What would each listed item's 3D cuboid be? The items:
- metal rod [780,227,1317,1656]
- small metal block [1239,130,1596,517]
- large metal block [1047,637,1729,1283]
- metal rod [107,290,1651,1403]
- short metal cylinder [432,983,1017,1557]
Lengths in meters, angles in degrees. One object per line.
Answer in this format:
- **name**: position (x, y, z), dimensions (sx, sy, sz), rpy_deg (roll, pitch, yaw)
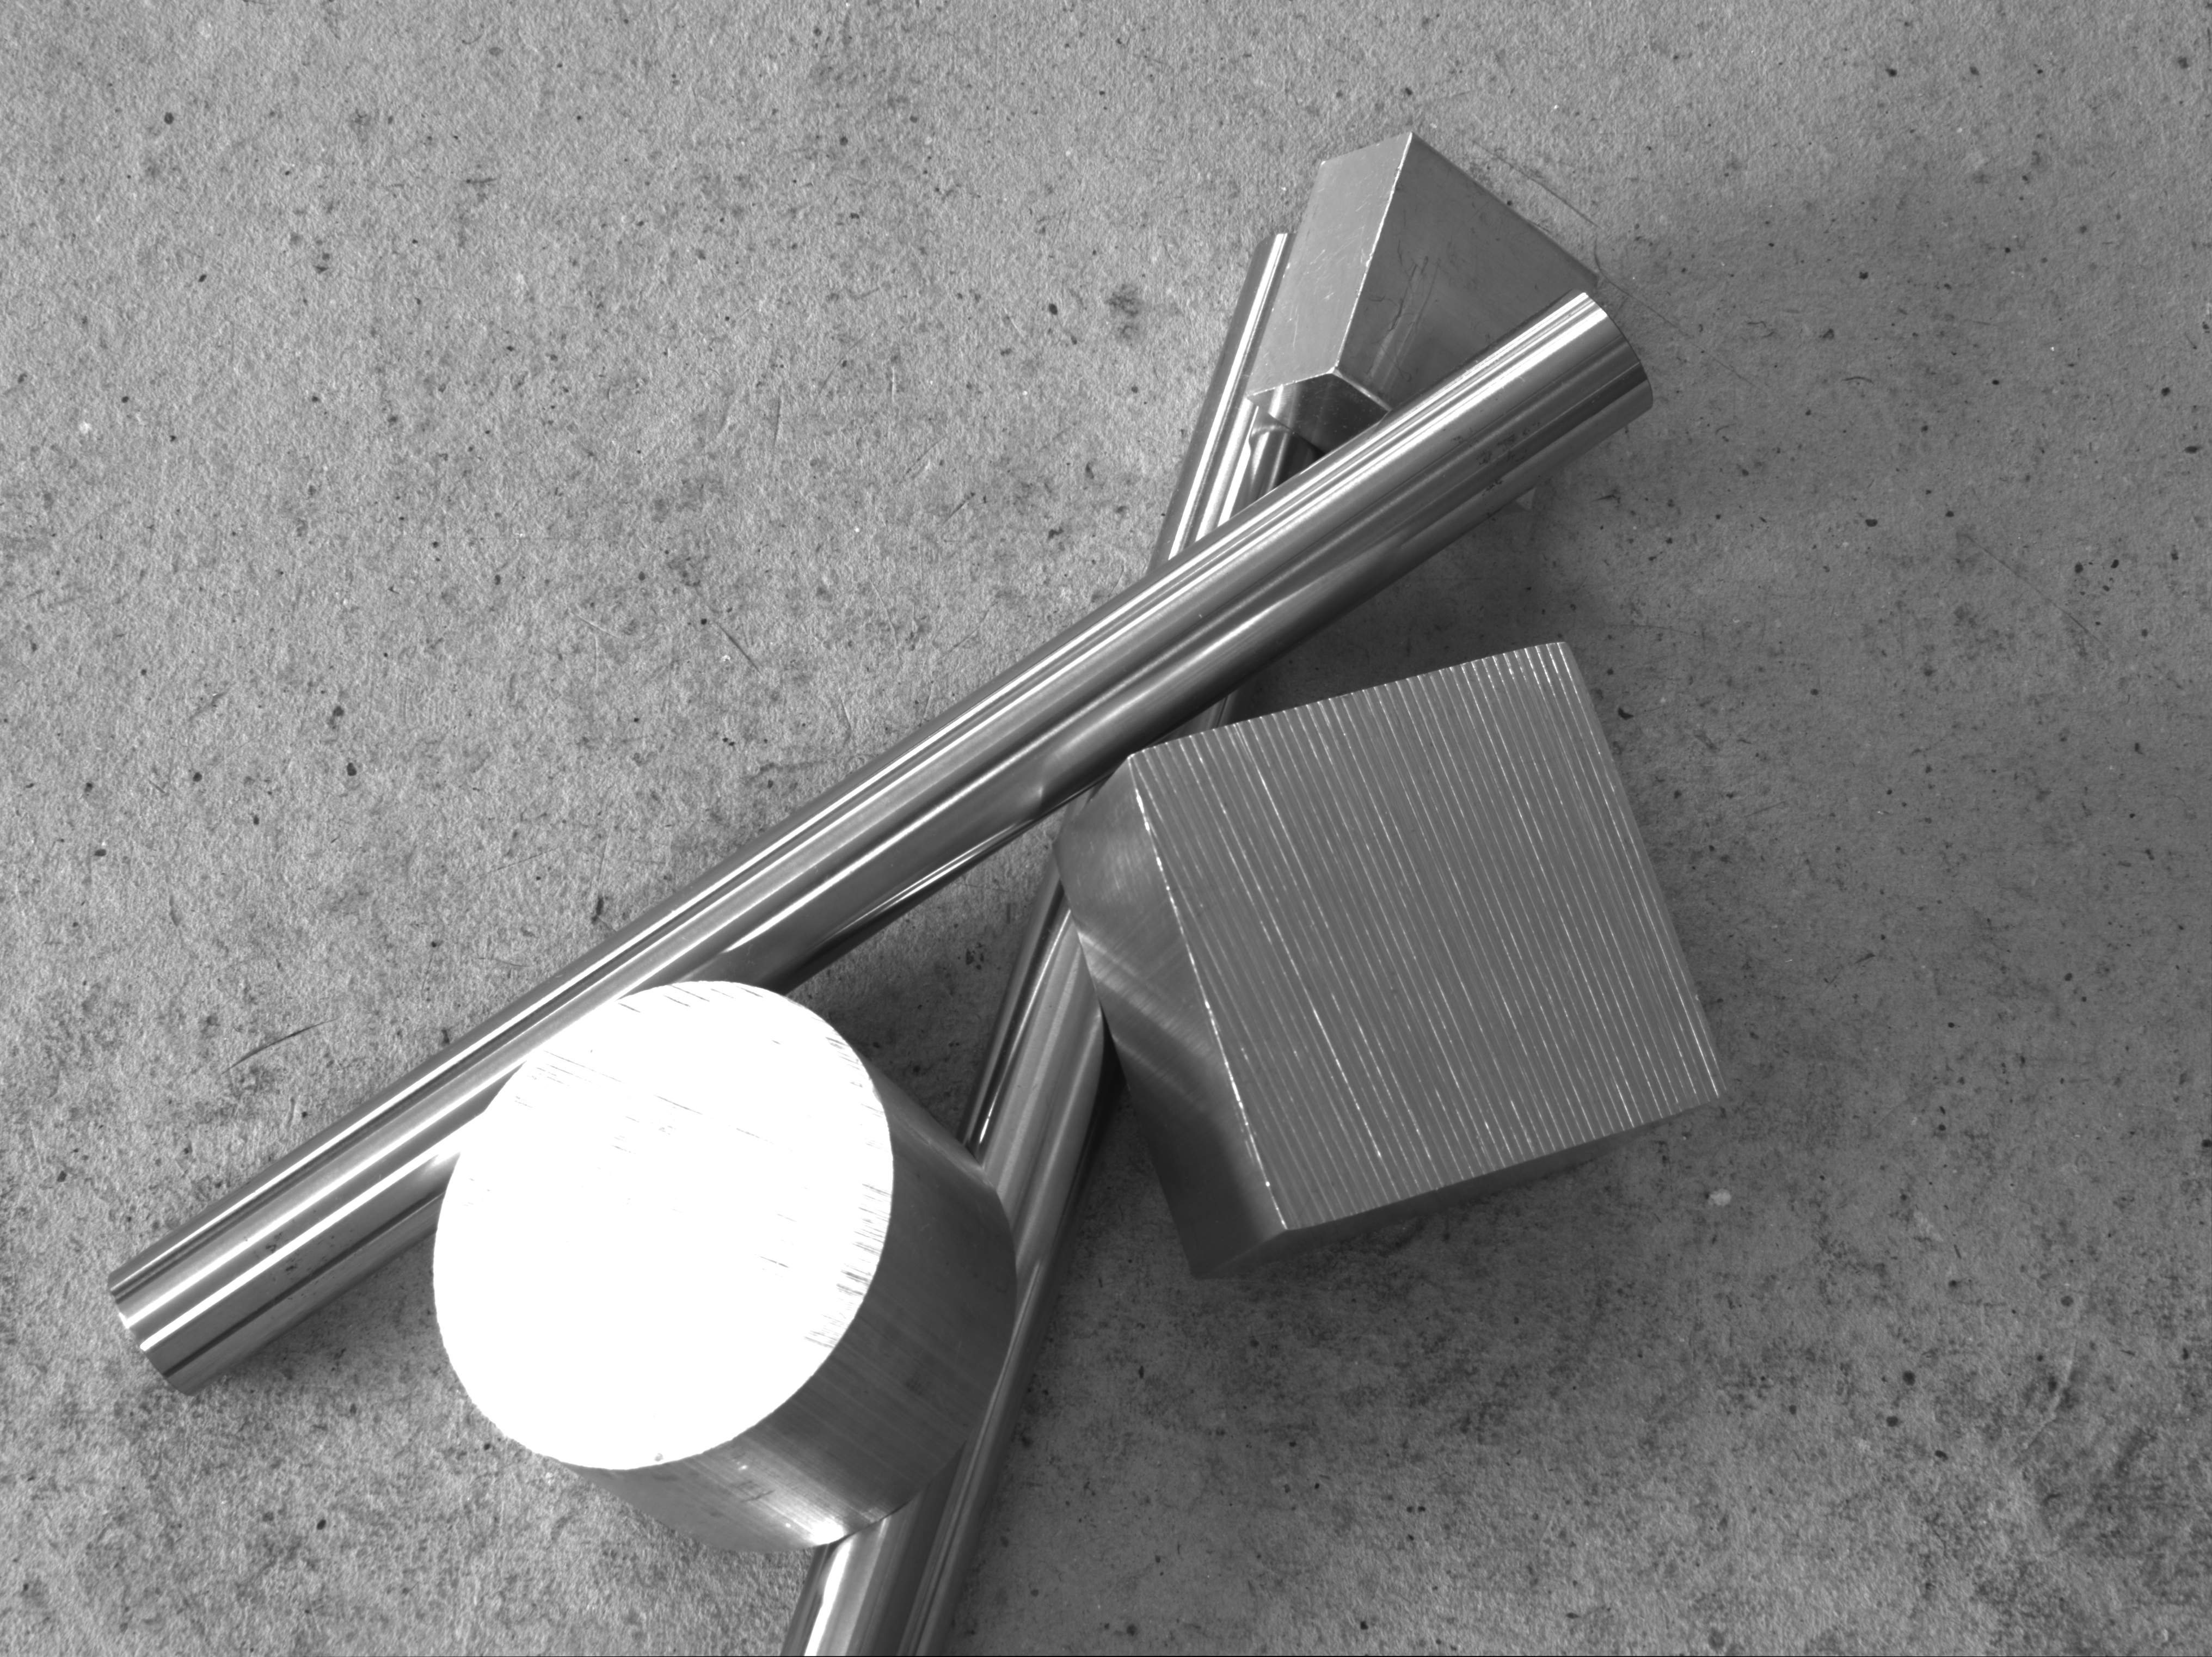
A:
- **metal rod**: position (-0.005, 0.030, 0.634), dimensions (0.025, 0.025, 0.300), rpy_deg (16, 71, 6)
- **small metal block**: position (0.057, -0.089, 0.665), dimensions (0.050, 0.025, 0.050), rpy_deg (31, 67, -31)
- **large metal block**: position (0.045, 0.022, 0.609), dimensions (0.080, 0.050, 0.080), rpy_deg (-15, 79, -18)
- **metal rod**: position (-0.036, 0.001, 0.627), dimensions (0.300, 0.025, 0.025), rpy_deg (-34, 73, -5)
- **short metal cylinder**: position (-0.061, 0.072, 0.593), dimensions (0.080, 0.050, 0.080), rpy_deg (-10, 61, 18)
